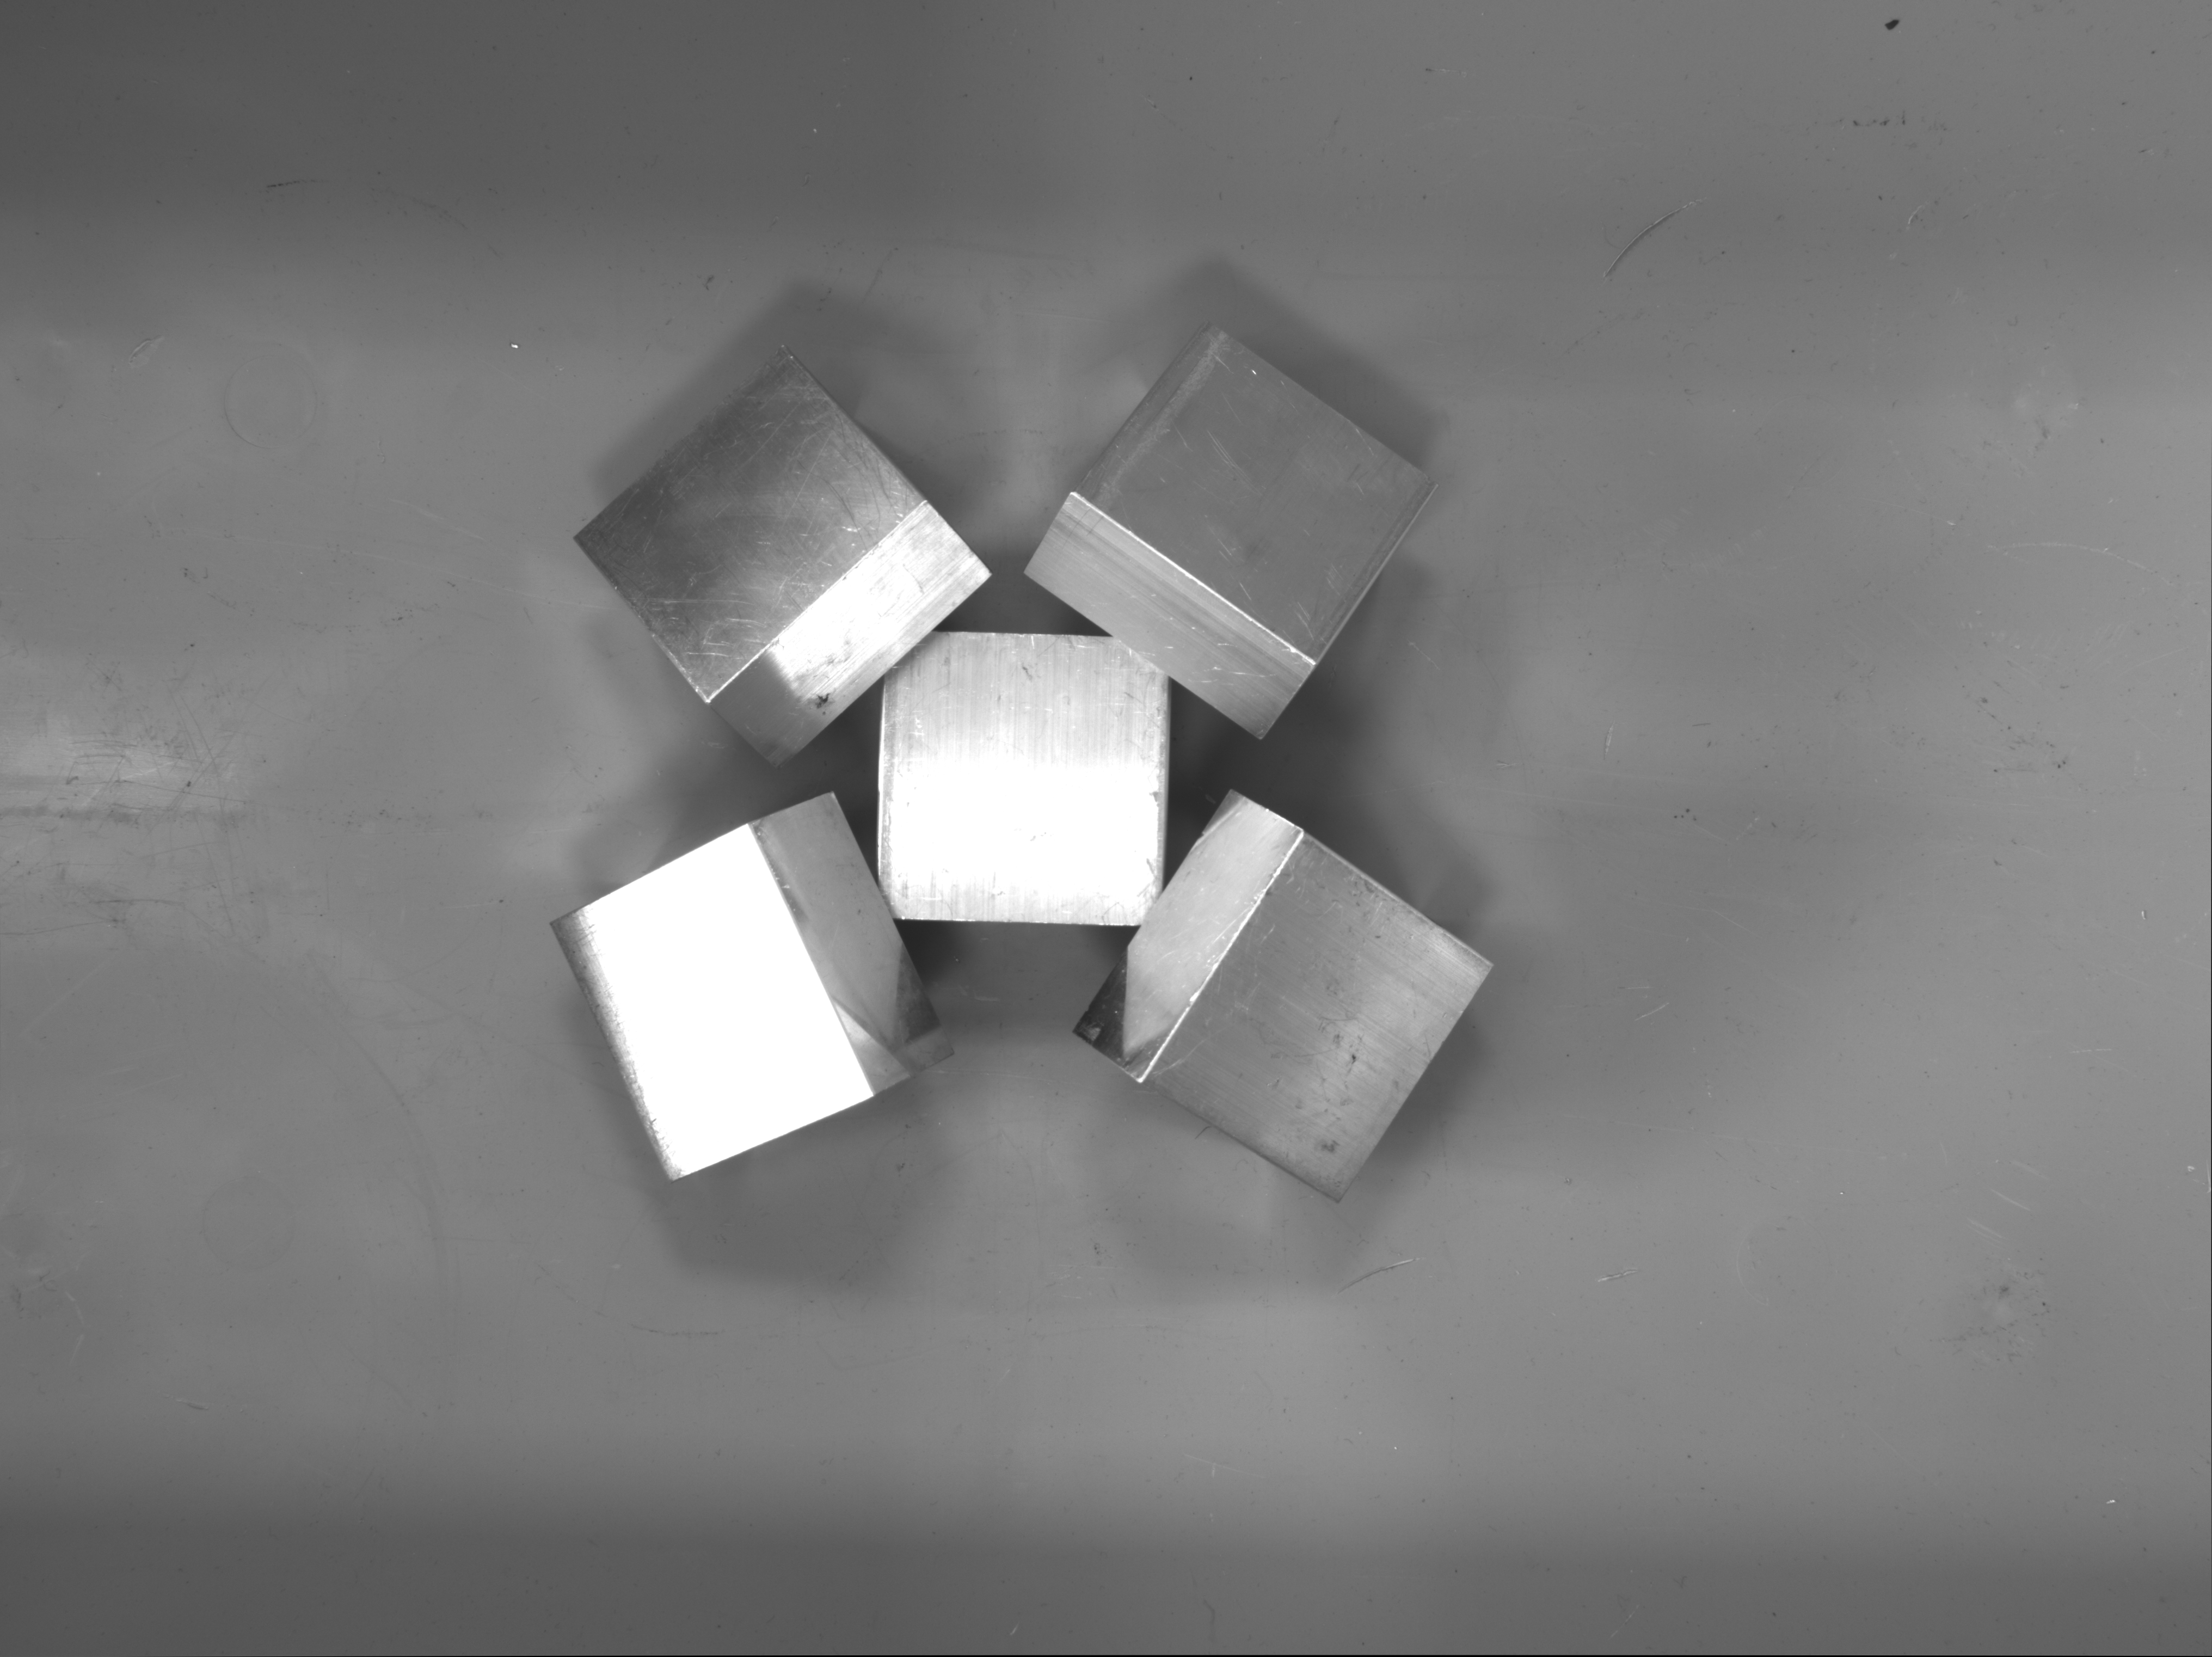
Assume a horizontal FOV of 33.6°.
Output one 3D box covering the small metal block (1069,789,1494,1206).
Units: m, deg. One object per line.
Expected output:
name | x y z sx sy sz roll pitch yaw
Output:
small metal block | 0.031 0.029 0.632 0.050 0.025 0.050 34 89 -34

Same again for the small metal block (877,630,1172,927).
small metal block | -0.014 -0.009 0.643 0.050 0.025 0.050 2 90 0

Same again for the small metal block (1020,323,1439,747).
small metal block | 0.022 -0.051 0.632 0.050 0.025 0.050 35 53 0

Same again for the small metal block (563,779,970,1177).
small metal block | -0.059 0.026 0.632 0.050 0.025 0.050 -26 90 38

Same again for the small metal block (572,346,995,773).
small metal block | -0.056 -0.047 0.631 0.050 0.025 0.050 -43 53 1
